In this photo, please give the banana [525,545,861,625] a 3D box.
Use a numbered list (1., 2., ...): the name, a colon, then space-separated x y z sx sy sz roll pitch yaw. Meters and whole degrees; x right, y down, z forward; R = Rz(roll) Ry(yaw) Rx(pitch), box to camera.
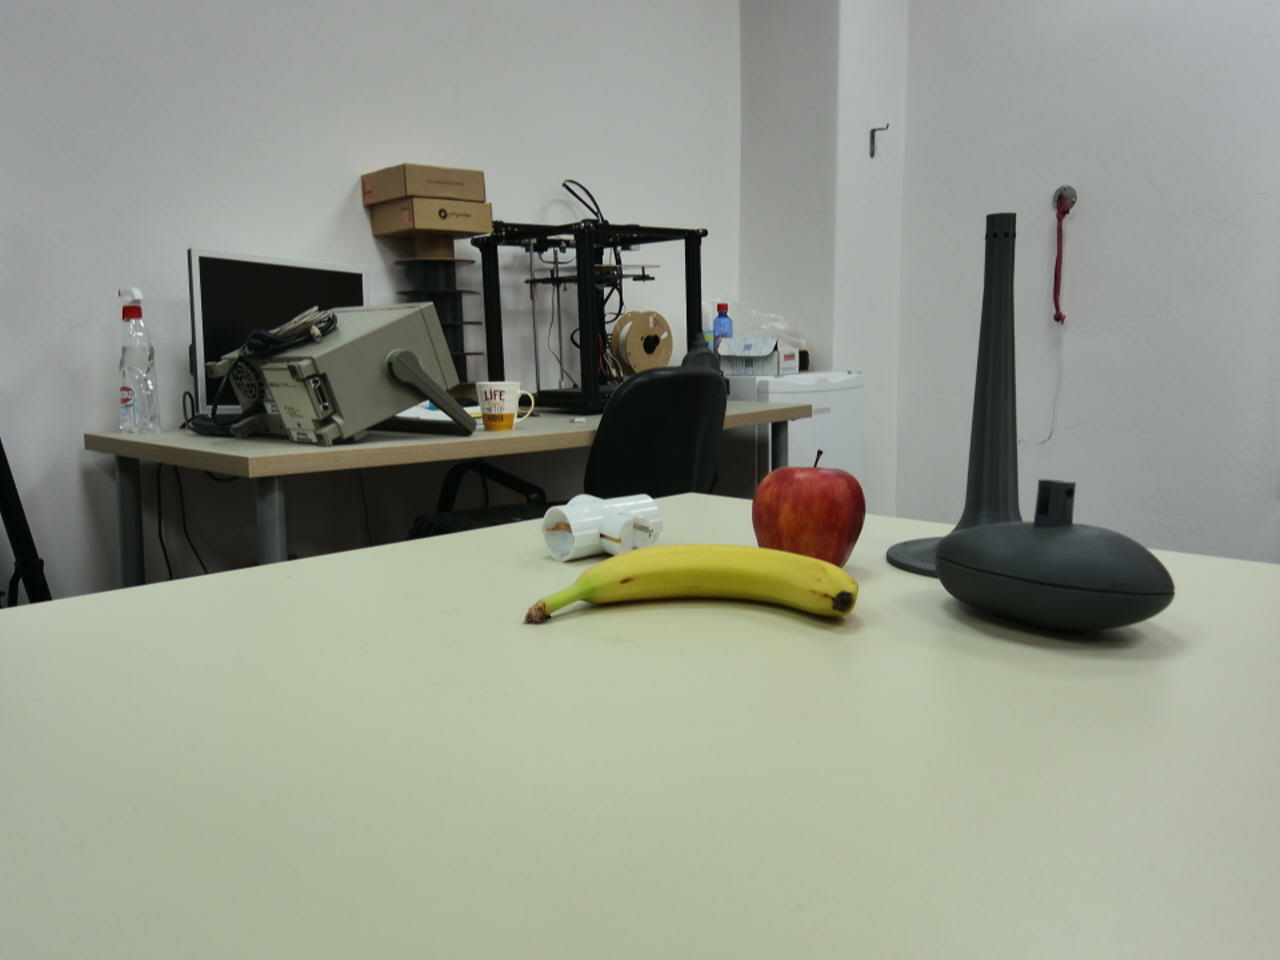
1. banana: 0.035 0.064 0.633 0.196 0.041 0.094 2 6 11
